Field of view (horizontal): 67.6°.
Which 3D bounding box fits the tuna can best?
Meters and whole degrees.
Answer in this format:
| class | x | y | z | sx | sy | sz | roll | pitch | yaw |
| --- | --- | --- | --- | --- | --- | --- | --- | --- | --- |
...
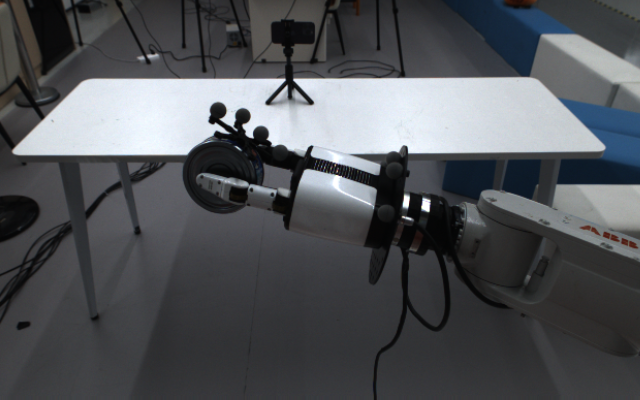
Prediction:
| class | x | y | z | sx | sy | sz | roll | pitch | yaw |
| --- | --- | --- | --- | --- | --- | --- | --- | --- | --- |
| tuna can | -0.104 | -0.022 | 0.539 | 0.085 | 0.085 | 0.034 | 6 | 19 | 6 |
